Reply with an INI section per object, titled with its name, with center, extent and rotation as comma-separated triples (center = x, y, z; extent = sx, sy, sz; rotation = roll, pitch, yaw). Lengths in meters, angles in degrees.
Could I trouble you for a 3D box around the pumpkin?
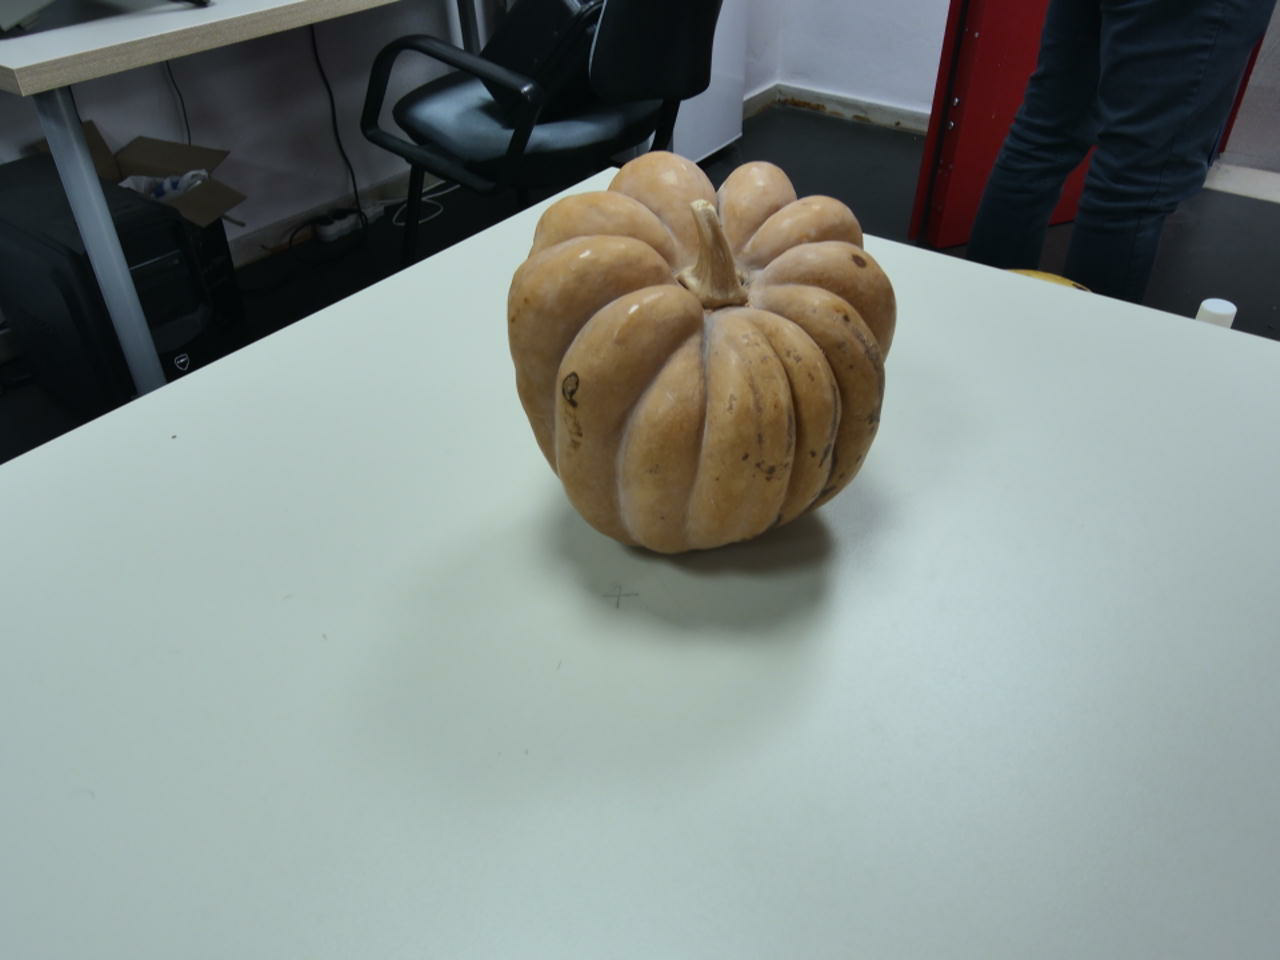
[pumpkin]
center = 0.028, -0.060, 0.501
extent = 0.199, 0.177, 0.198
rotation = -1, 37, 0
